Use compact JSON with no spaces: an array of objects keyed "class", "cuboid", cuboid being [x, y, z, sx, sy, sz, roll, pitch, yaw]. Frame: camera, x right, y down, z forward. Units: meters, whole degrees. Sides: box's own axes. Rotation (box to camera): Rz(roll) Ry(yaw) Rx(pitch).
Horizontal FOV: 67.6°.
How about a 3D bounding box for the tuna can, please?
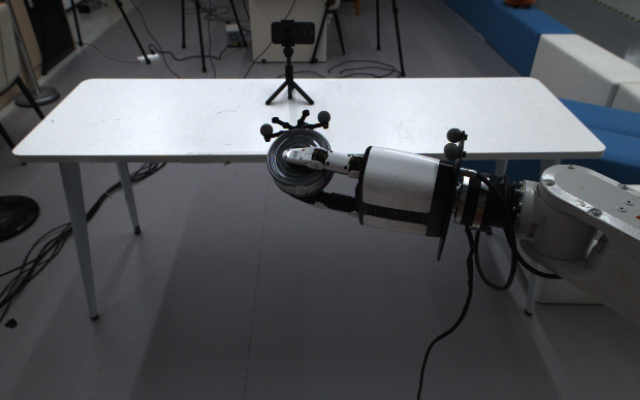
[{"class":"tuna can","cuboid":[-0.021,-0.044,0.625,0.085,0.034,0.085,-4,68,9]}]
